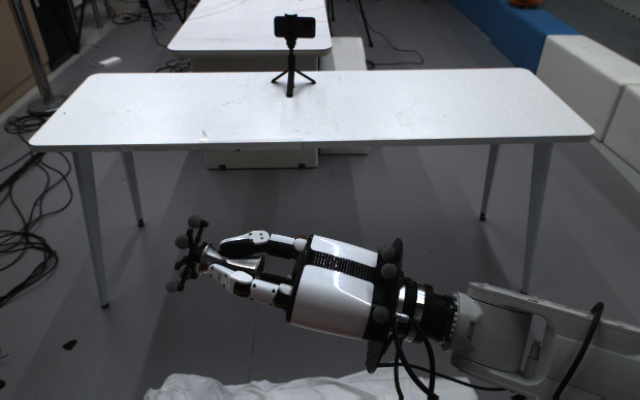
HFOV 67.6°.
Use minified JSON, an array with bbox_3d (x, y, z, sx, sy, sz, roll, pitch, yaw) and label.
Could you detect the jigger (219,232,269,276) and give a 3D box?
[{"bbox_3d":[-0.098,0.077,0.579,0.071,0.043,0.043,14,36,5],"label":"jigger"}]
